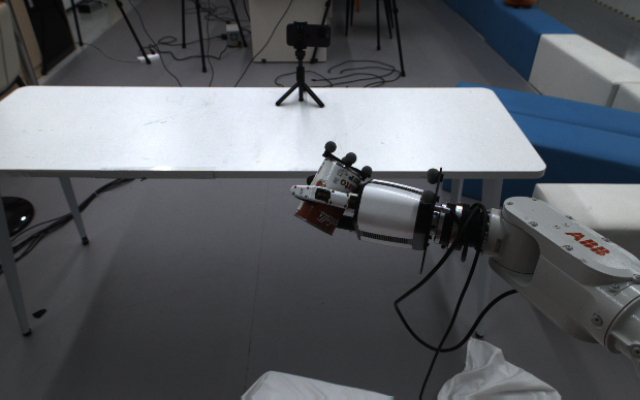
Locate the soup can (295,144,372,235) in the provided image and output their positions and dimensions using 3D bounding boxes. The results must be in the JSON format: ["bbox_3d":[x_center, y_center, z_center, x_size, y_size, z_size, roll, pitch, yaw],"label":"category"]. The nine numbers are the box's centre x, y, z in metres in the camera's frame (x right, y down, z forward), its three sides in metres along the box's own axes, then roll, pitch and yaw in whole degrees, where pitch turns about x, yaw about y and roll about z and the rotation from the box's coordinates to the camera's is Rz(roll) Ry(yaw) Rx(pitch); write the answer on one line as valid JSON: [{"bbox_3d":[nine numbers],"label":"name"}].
[{"bbox_3d":[0.013,-0.006,0.741,0.067,0.101,0.067,29,-3,1],"label":"soup can"}]
